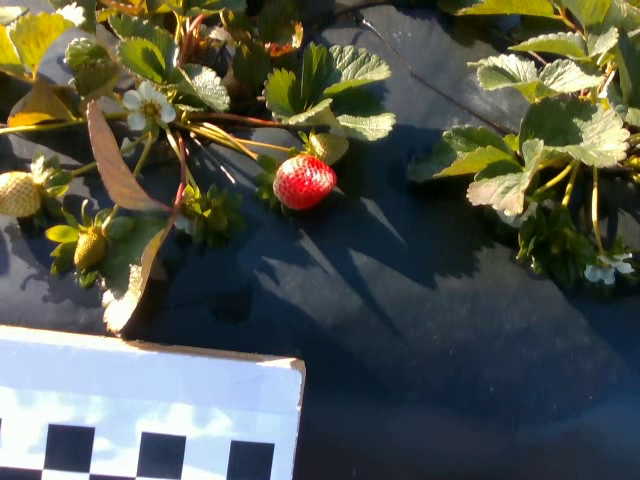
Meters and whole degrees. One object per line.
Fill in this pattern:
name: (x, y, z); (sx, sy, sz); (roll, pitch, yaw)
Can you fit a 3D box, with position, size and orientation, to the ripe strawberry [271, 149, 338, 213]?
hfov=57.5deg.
ripe strawberry: (-0.005, -0.031, 0.310); (0.042, 0.037, 0.045); (-15, 10, -33)
